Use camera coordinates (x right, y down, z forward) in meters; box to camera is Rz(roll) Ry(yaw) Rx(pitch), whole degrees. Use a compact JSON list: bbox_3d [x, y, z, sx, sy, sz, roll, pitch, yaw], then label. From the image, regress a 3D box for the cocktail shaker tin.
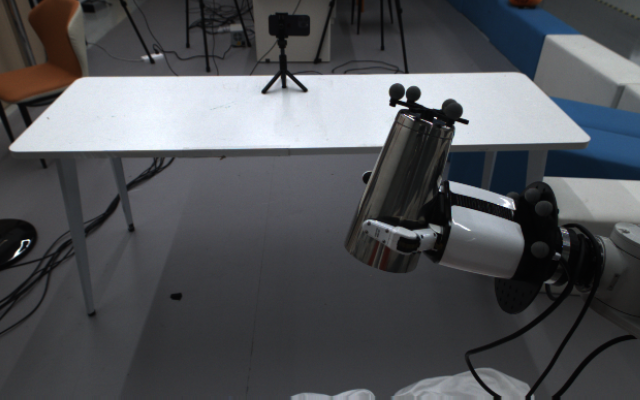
[{"bbox_3d":[0.097,-0.013,0.561,0.093,0.170,0.093,14,20,-5],"label":"cocktail shaker tin"}]
